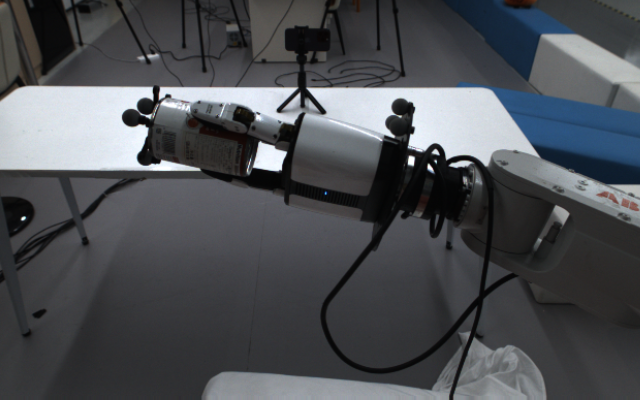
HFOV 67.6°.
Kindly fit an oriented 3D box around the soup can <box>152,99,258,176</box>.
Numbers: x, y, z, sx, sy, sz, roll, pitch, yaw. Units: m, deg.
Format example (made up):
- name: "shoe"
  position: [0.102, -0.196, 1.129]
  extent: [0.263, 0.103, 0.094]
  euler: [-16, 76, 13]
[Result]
- name: "soup can"
  position: [-0.117, -0.065, 0.514]
  extent: [0.101, 0.067, 0.067]
  euler: [12, 35, -1]
